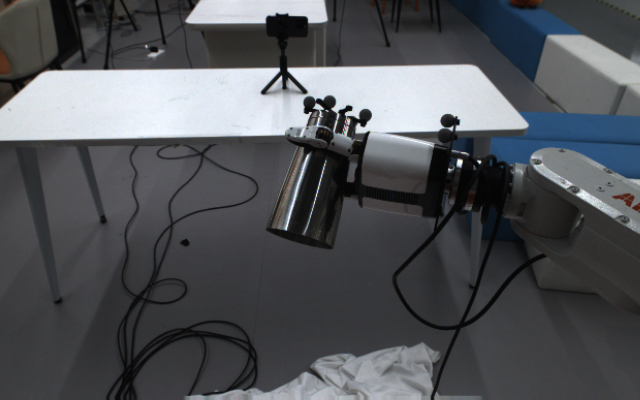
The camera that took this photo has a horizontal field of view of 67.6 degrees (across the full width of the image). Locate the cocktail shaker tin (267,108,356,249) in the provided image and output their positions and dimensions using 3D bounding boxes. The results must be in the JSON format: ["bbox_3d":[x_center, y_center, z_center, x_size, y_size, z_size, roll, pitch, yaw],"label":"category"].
[{"bbox_3d":[-0.002,-0.032,0.645,0.093,0.093,0.170,13,77,15],"label":"cocktail shaker tin"}]
